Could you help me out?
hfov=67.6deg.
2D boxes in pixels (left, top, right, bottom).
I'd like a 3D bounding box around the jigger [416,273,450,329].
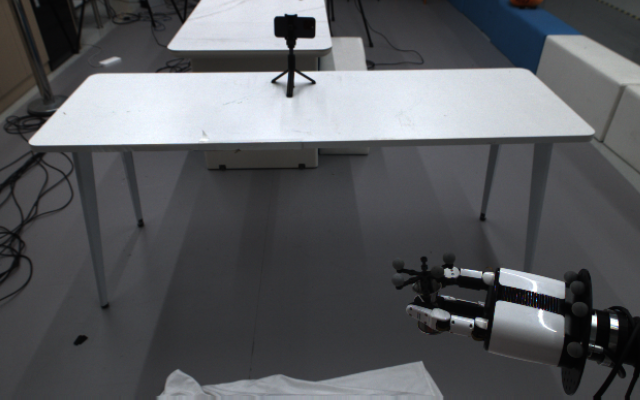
[{"bbox_3d":[0.154,0.146,0.679,0.043,0.071,0.043,-11,24,5],"label":"jigger"}]
